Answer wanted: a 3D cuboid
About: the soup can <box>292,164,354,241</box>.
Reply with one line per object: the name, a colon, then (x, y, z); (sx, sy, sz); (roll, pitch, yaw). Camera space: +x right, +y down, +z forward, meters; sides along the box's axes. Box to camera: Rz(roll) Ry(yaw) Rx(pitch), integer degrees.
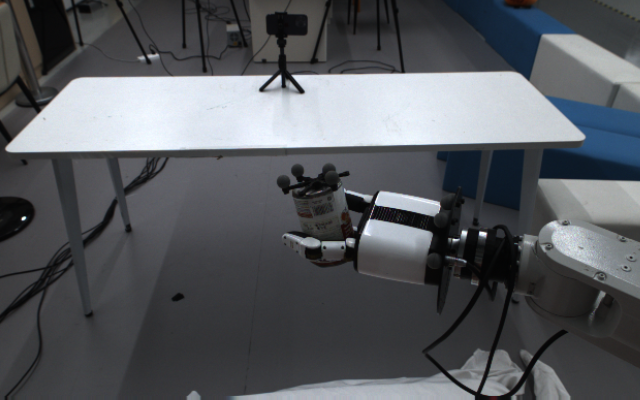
soup can: (0.009, 0.028, 0.632); (0.067, 0.101, 0.067); (-13, 20, 5)
